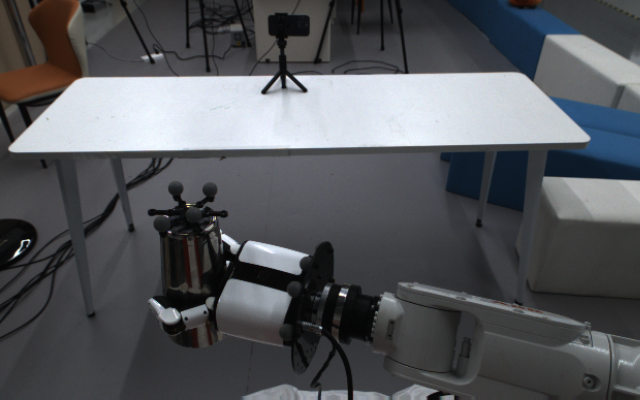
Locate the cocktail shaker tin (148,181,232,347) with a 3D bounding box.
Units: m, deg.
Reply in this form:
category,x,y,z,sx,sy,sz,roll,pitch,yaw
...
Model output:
category,x,y,z,sx,sy,sz,roll,pitch,yaw
cocktail shaker tin,-0.153,0.092,0.603,0.093,0.170,0.093,3,34,-2
